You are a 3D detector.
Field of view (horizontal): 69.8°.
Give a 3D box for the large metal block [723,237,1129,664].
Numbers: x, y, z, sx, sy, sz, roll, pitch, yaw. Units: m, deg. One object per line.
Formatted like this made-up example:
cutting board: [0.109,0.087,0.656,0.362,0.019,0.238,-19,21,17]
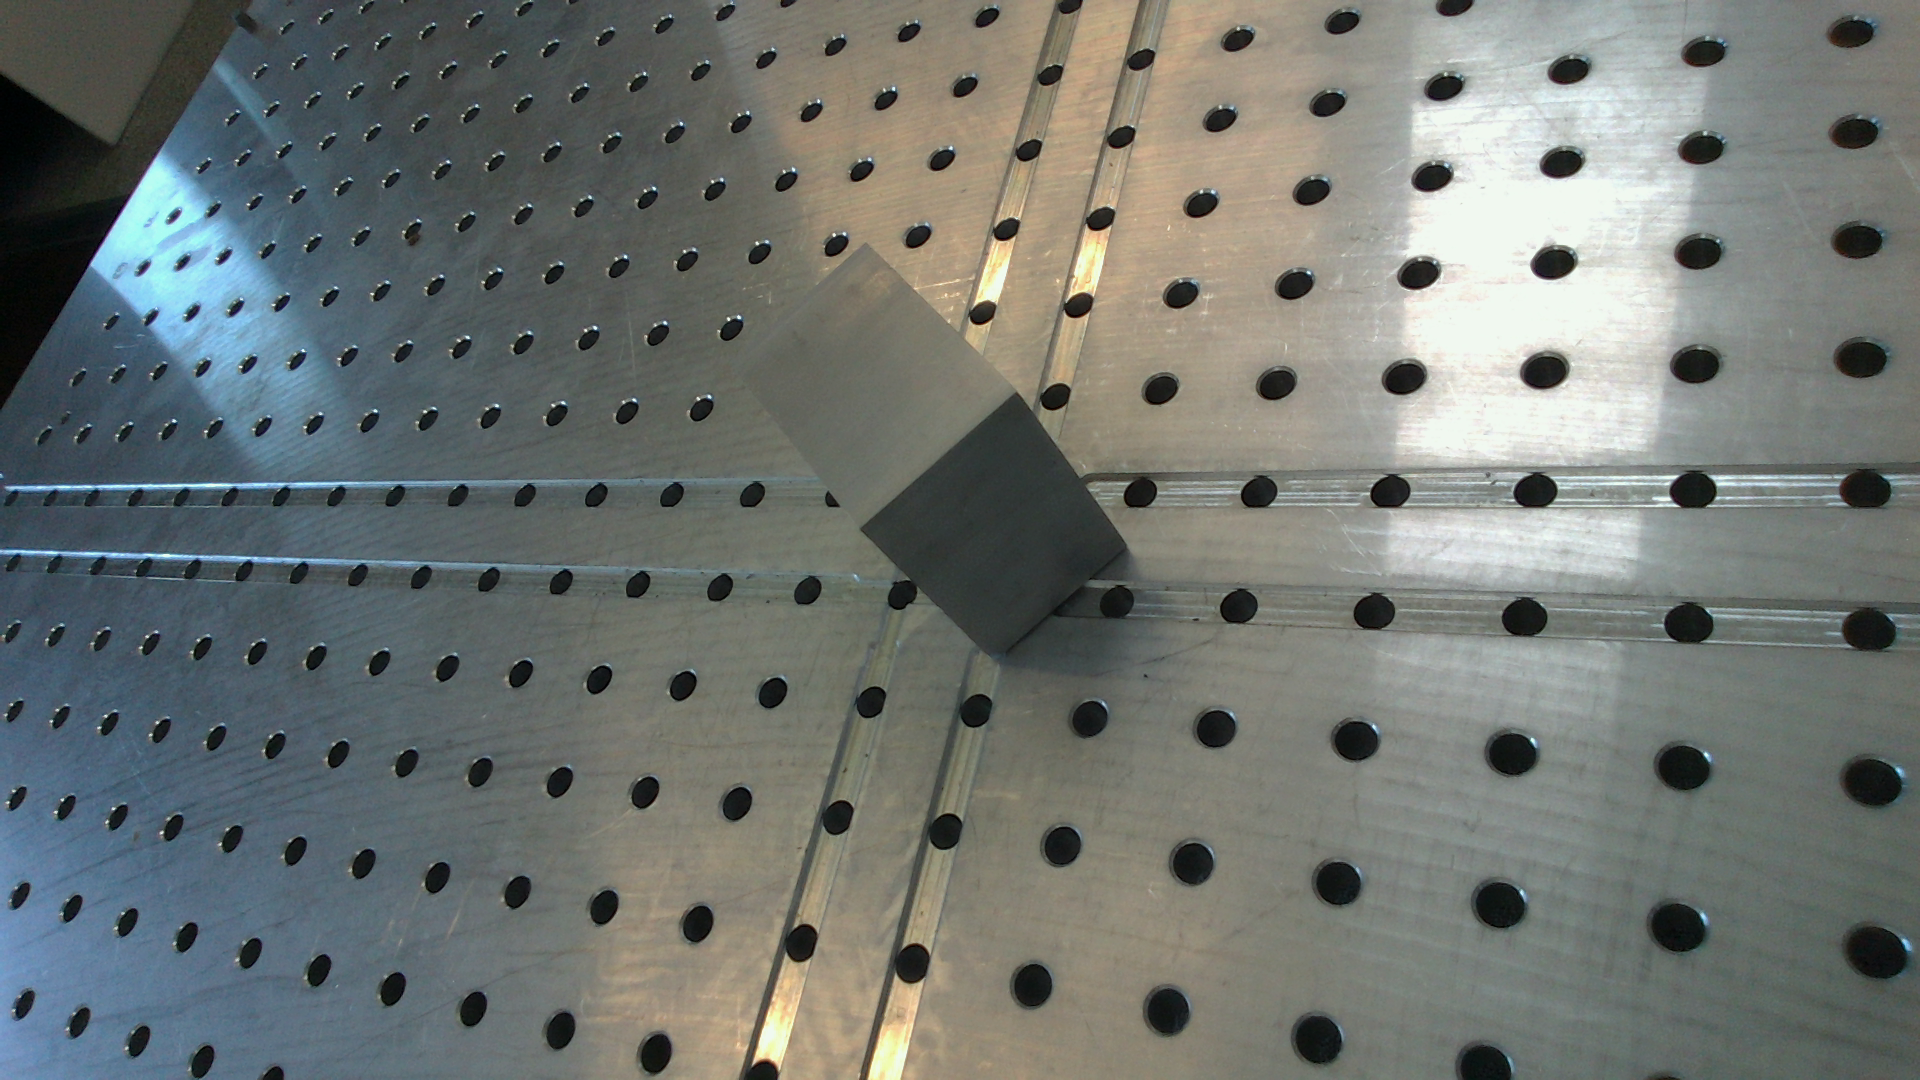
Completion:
large metal block: [-0.008,-0.024,0.380,0.050,0.080,0.080,-41,51,0]
